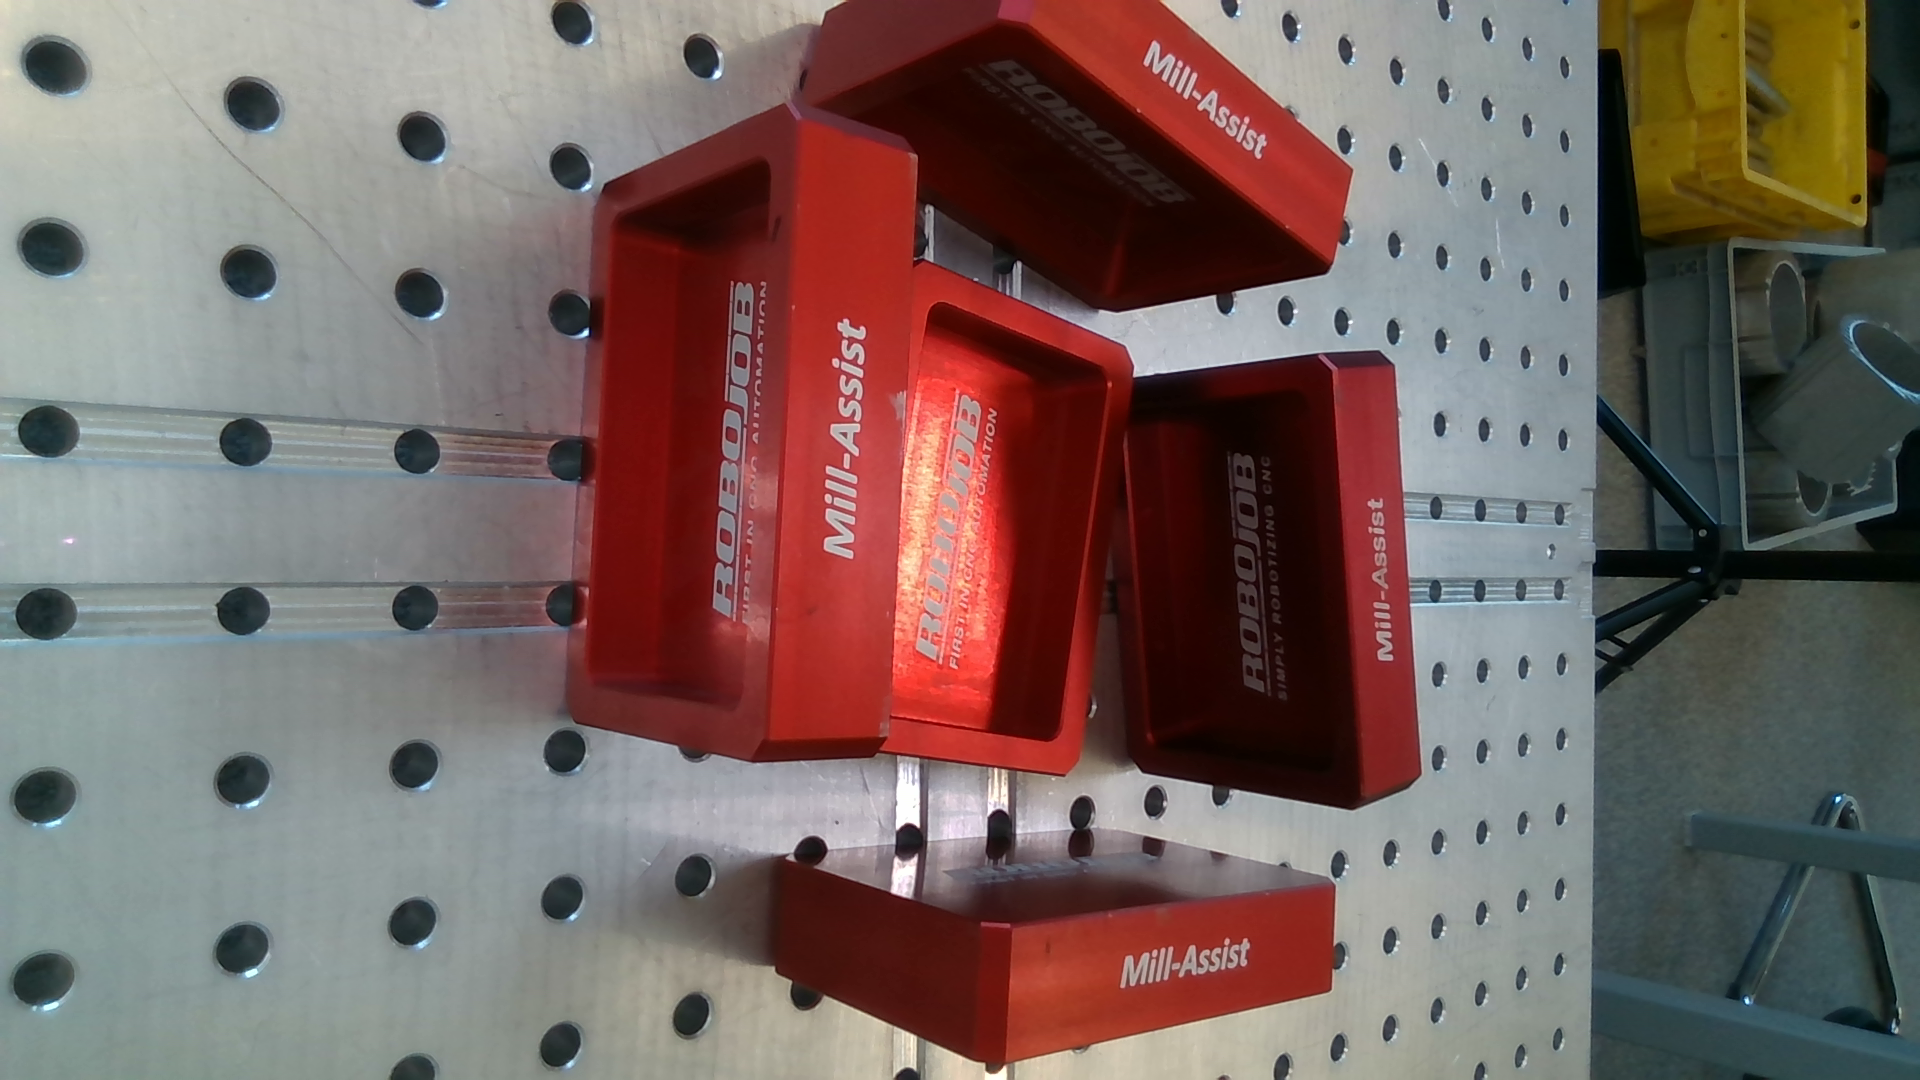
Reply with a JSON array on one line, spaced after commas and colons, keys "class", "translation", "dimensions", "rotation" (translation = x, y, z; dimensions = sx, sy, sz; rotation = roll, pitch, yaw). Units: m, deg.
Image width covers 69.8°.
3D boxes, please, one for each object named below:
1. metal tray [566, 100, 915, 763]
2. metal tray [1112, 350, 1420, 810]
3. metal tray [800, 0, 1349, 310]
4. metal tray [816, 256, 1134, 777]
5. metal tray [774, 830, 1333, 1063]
[{"class": "metal tray", "translation": [-0.052, -0.020, 0.308], "dimensions": [0.030, 0.090, 0.130], "rotation": [5, 87, -40]}, {"class": "metal tray", "translation": [0.091, 0.011, 0.427], "dimensions": [0.030, 0.090, 0.130], "rotation": [-9, 95, -40]}, {"class": "metal tray", "translation": [0.033, -0.109, 0.379], "dimensions": [0.130, 0.090, 0.030], "rotation": [23, 75, -38]}, {"class": "metal tray", "translation": [0.001, -0.003, 0.390], "dimensions": [0.090, 0.030, 0.130], "rotation": [15, 81, -39]}, {"class": "metal tray", "translation": [0.027, 0.104, 0.374], "dimensions": [0.130, 0.090, 0.030], "rotation": [6, 86, -40]}]
